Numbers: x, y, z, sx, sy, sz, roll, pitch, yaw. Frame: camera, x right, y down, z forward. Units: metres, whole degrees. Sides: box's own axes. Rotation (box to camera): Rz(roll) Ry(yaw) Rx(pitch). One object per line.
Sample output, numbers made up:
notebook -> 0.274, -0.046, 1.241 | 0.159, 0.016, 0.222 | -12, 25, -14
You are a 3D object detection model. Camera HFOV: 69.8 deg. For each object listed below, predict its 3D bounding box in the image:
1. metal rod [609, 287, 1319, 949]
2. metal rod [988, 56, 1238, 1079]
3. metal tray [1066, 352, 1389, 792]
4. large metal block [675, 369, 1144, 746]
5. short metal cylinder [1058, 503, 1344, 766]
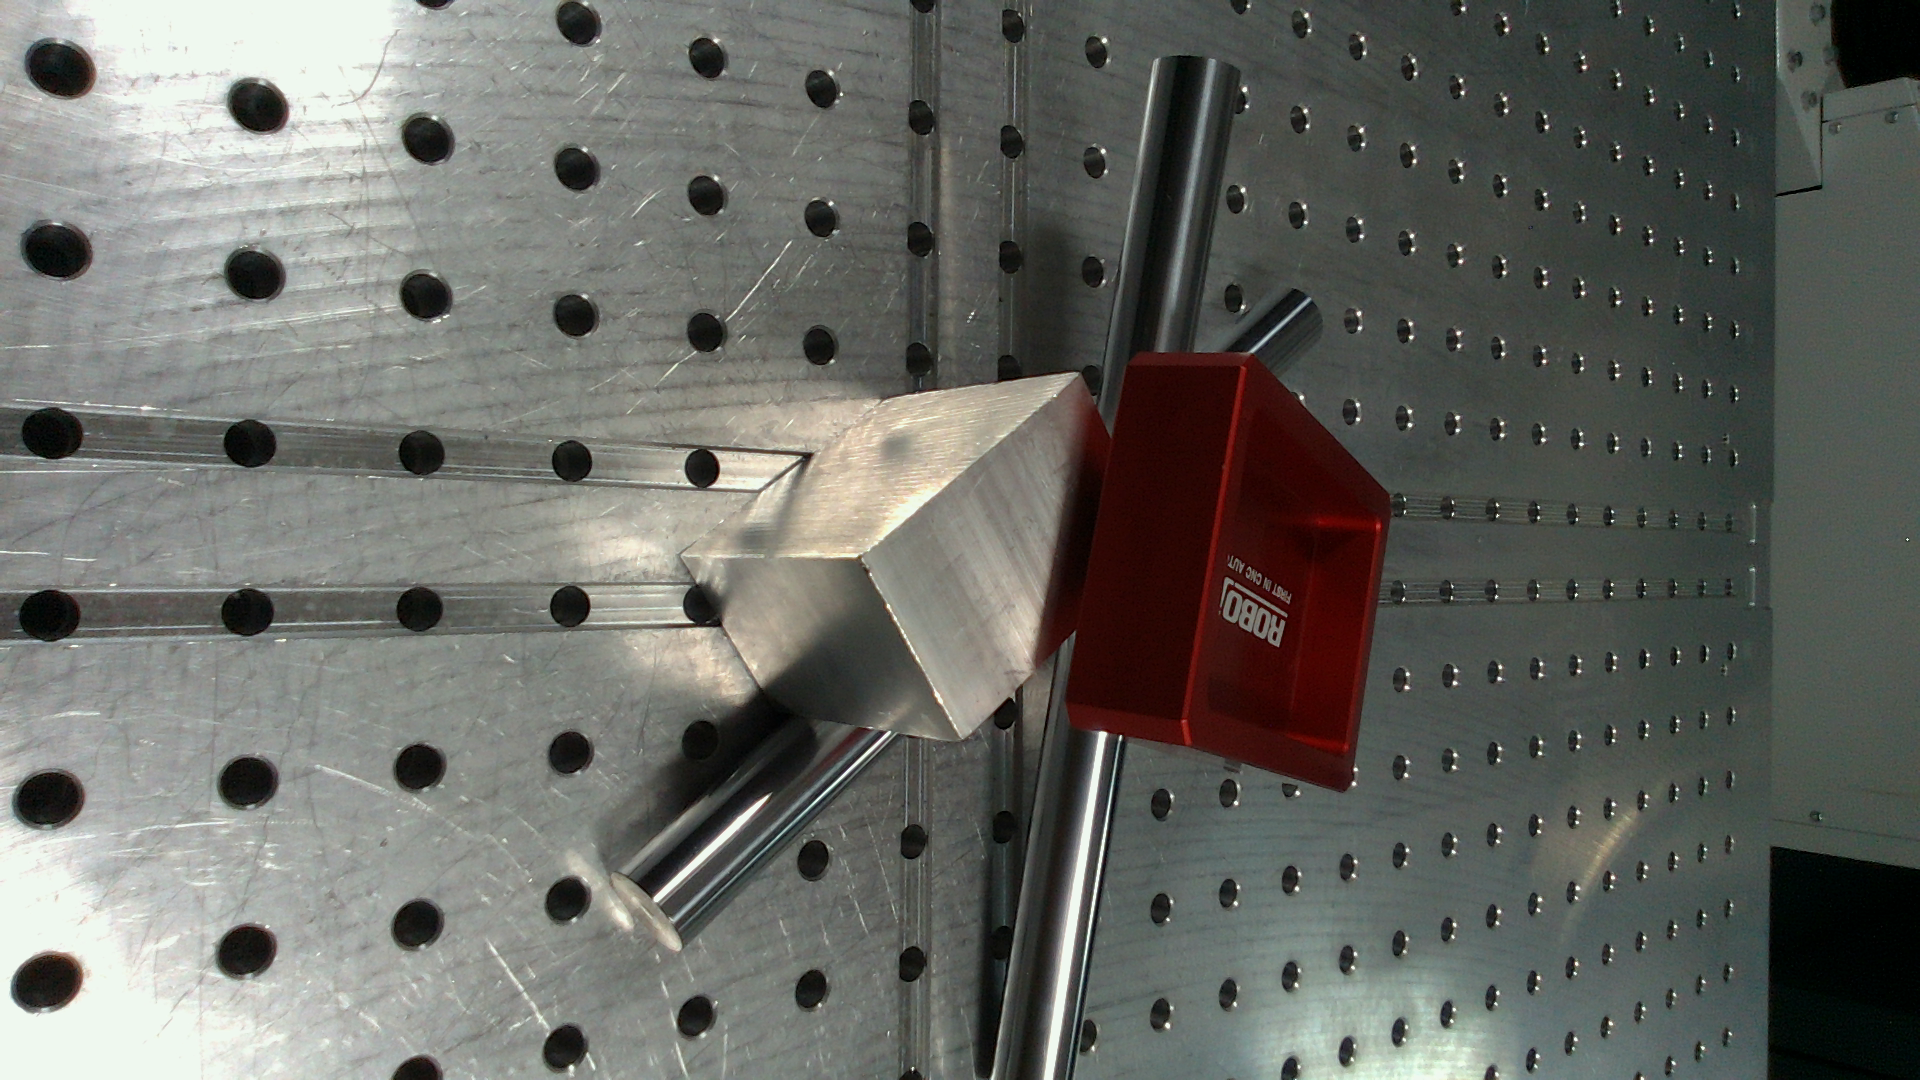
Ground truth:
metal rod -> 0.021, 0.005, 0.409 | 0.301, 0.025, 0.025 | -41, 115, -32
metal rod -> 0.043, 0.016, 0.398 | 0.025, 0.025, 0.300 | 5, 96, -40
metal tray -> 0.077, 0.014, 0.361 | 0.130, 0.030, 0.090 | 25, 74, -56
large metal block -> -0.010, 0.002, 0.347 | 0.080, 0.080, 0.050 | -41, 115, -32
short metal cylinder -> 0.077, 0.029, 0.439 | 0.080, 0.050, 0.080 | 0, 90, -40
